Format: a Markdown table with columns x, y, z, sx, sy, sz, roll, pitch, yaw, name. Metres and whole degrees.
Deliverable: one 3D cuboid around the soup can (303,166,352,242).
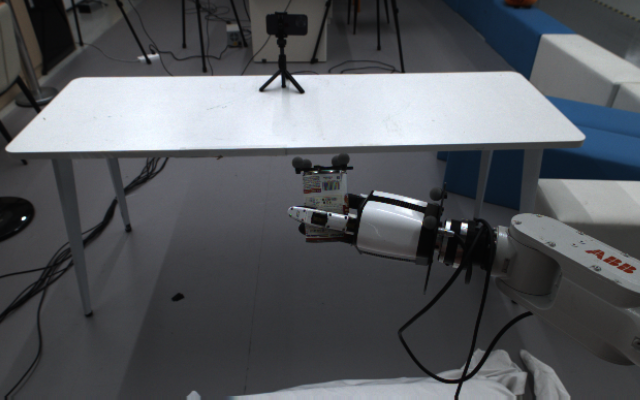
| x | y | z | sx | sy | sz | roll | pitch | yaw | name |
| --- | --- | --- | --- | --- | --- | --- | --- | --- | --- |
| 0.010 | 0.010 | 0.709 | 0.067 | 0.101 | 0.067 | -3 | -1 | 0 | soup can |
